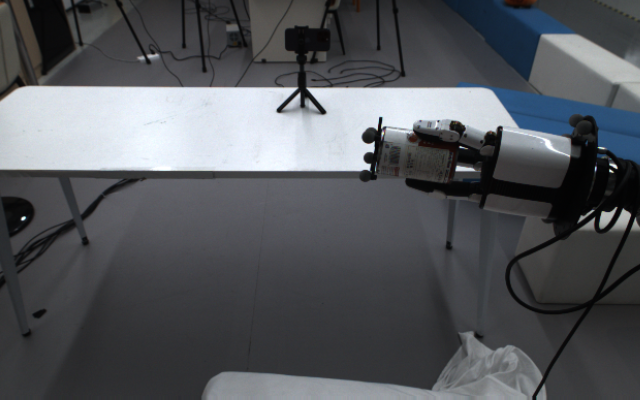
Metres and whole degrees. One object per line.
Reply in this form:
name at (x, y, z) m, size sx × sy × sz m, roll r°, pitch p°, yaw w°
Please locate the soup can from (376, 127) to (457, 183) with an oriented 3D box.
soup can at (0.134, -0.062, 0.659) m, size 0.101 × 0.067 × 0.067 m, roll 9°, pitch 35°, yaw 9°
